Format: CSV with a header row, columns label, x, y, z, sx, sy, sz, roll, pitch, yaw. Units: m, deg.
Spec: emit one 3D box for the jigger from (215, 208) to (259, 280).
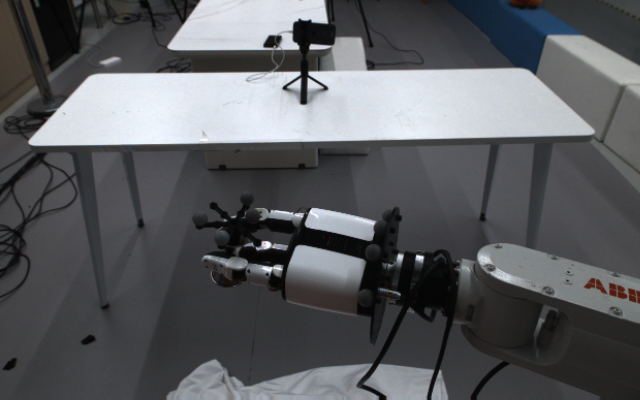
label,x,y,z,sx,sy,sz,roll,pitch,yaw
jigger,-0.109,0.067,0.595,0.043,0.071,0.043,10,36,-7
